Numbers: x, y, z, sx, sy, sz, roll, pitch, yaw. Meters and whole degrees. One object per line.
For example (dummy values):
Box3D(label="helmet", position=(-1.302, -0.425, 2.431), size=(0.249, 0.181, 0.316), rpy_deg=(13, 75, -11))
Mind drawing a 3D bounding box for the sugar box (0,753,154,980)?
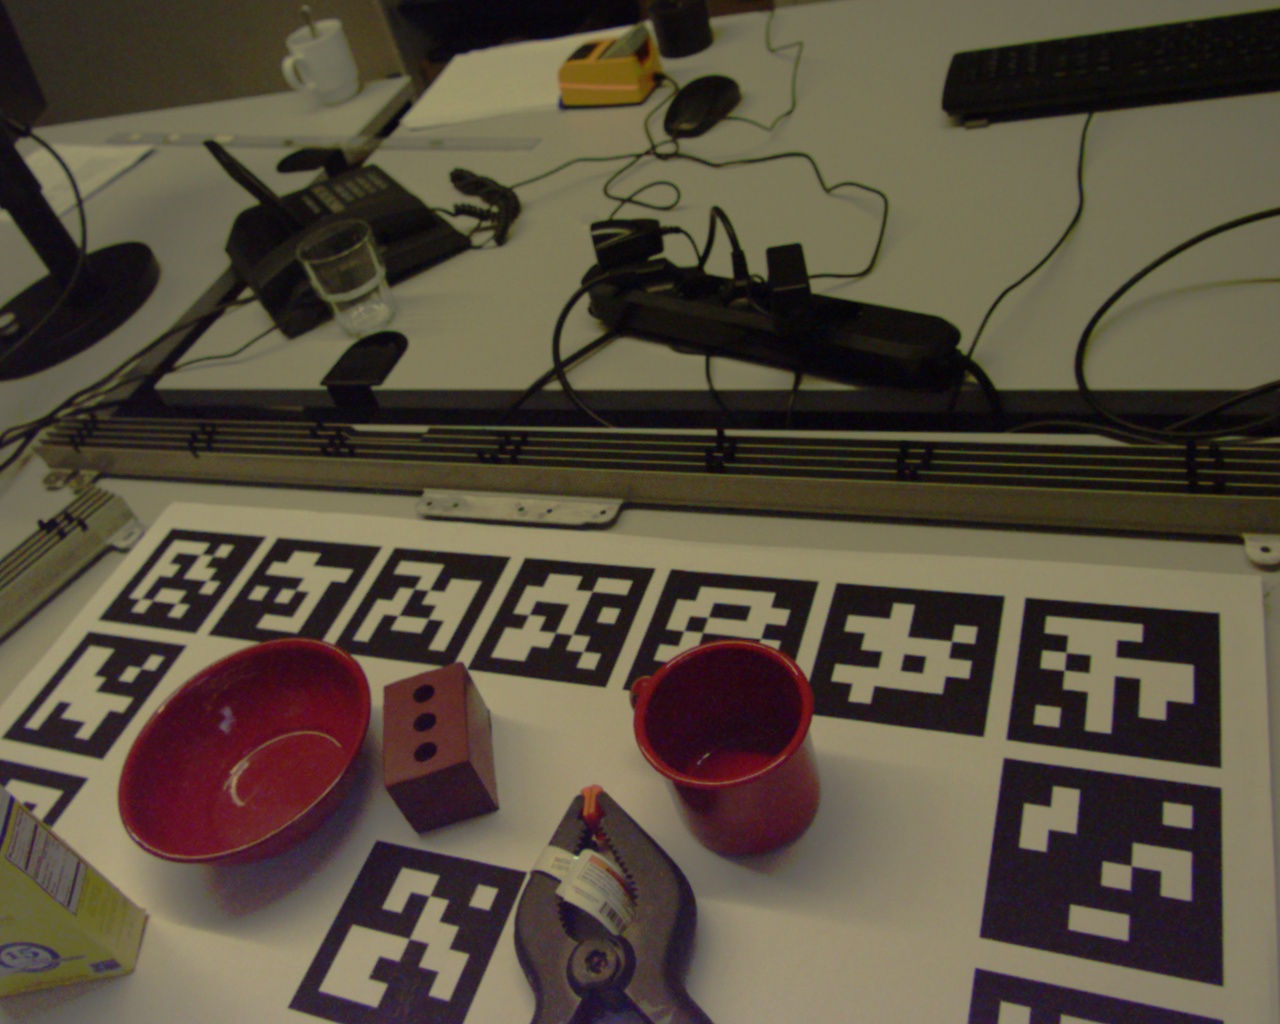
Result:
Box3D(label="sugar box", position=(-0.361, 0.201, 0.641), size=(0.093, 0.175, 0.045), rpy_deg=(-14, 44, 3))

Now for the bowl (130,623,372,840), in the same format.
Box3D(label="bowl", position=(-0.240, 0.150, 0.736), size=(0.162, 0.055, 0.162), rpy_deg=(-10, 43, 9))

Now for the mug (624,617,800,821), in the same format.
Box3D(label="mug", position=(0.037, 0.114, 0.646), size=(0.119, 0.081, 0.093), rpy_deg=(28, 60, 36))

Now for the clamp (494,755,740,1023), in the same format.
Box3D(label="clamp", position=(-0.025, 0.217, 0.590), size=(0.166, 0.036, 0.204), rpy_deg=(-16, 43, 7))

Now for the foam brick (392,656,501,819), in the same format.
Box3D(label="foam brick", position=(-0.122, 0.141, 0.712), size=(0.053, 0.051, 0.078), rpy_deg=(-18, 43, 3))
